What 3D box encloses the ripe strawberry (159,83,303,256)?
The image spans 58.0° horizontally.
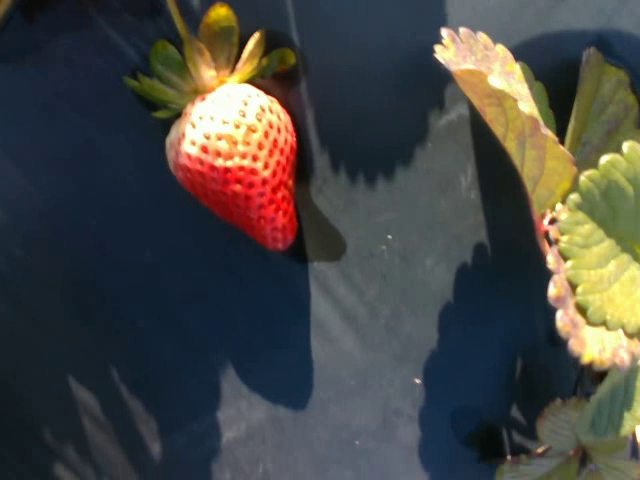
[{"bbox_3d":[-0.020,-0.018,0.166,0.043,0.064,0.044,-35,6,-34],"label":"ripe strawberry"}]
